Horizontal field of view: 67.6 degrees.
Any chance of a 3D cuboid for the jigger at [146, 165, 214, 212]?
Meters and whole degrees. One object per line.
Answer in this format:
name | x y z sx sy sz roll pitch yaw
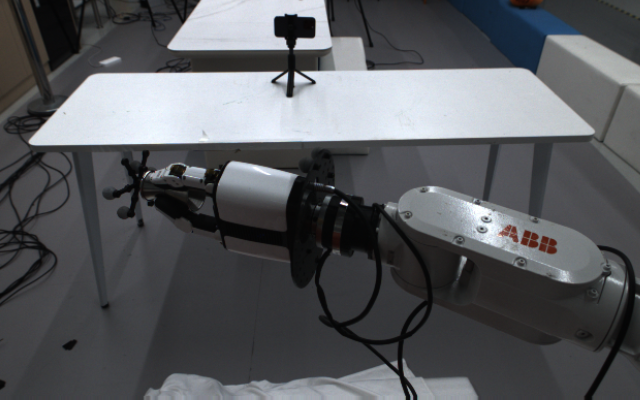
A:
jigger | -0.176 -0.016 0.600 0.071 0.043 0.043 10 35 16
